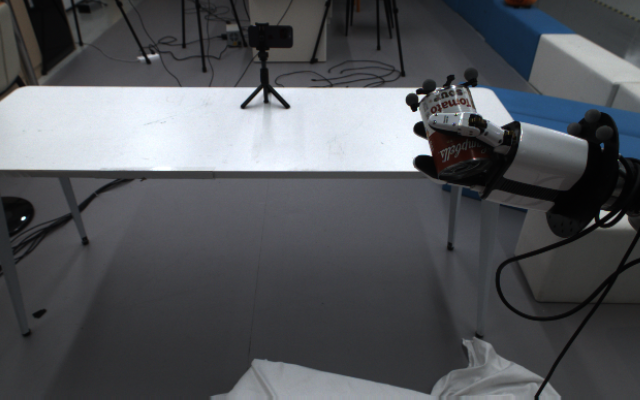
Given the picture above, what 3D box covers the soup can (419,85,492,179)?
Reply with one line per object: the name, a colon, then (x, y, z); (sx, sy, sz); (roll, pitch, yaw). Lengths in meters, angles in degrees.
soup can: (0.170, -0.085, 0.610); (0.067, 0.067, 0.101); (-8, 74, -14)
